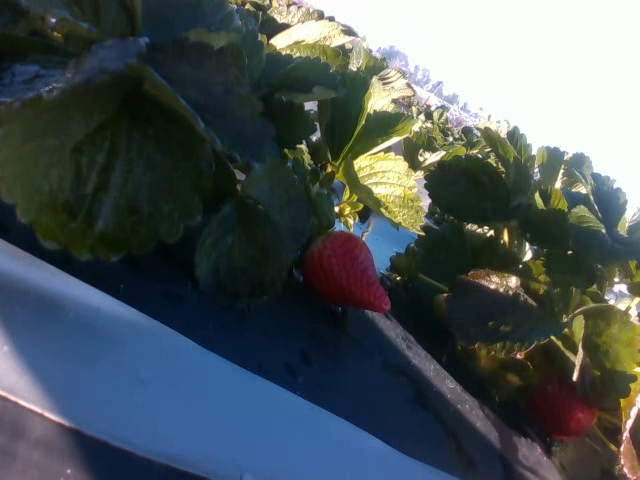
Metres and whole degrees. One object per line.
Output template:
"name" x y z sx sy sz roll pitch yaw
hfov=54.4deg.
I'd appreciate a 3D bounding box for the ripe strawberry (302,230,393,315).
"ripe strawberry" 0.016 0.018 0.302 0.045 0.058 0.042 -26 -24 -28
